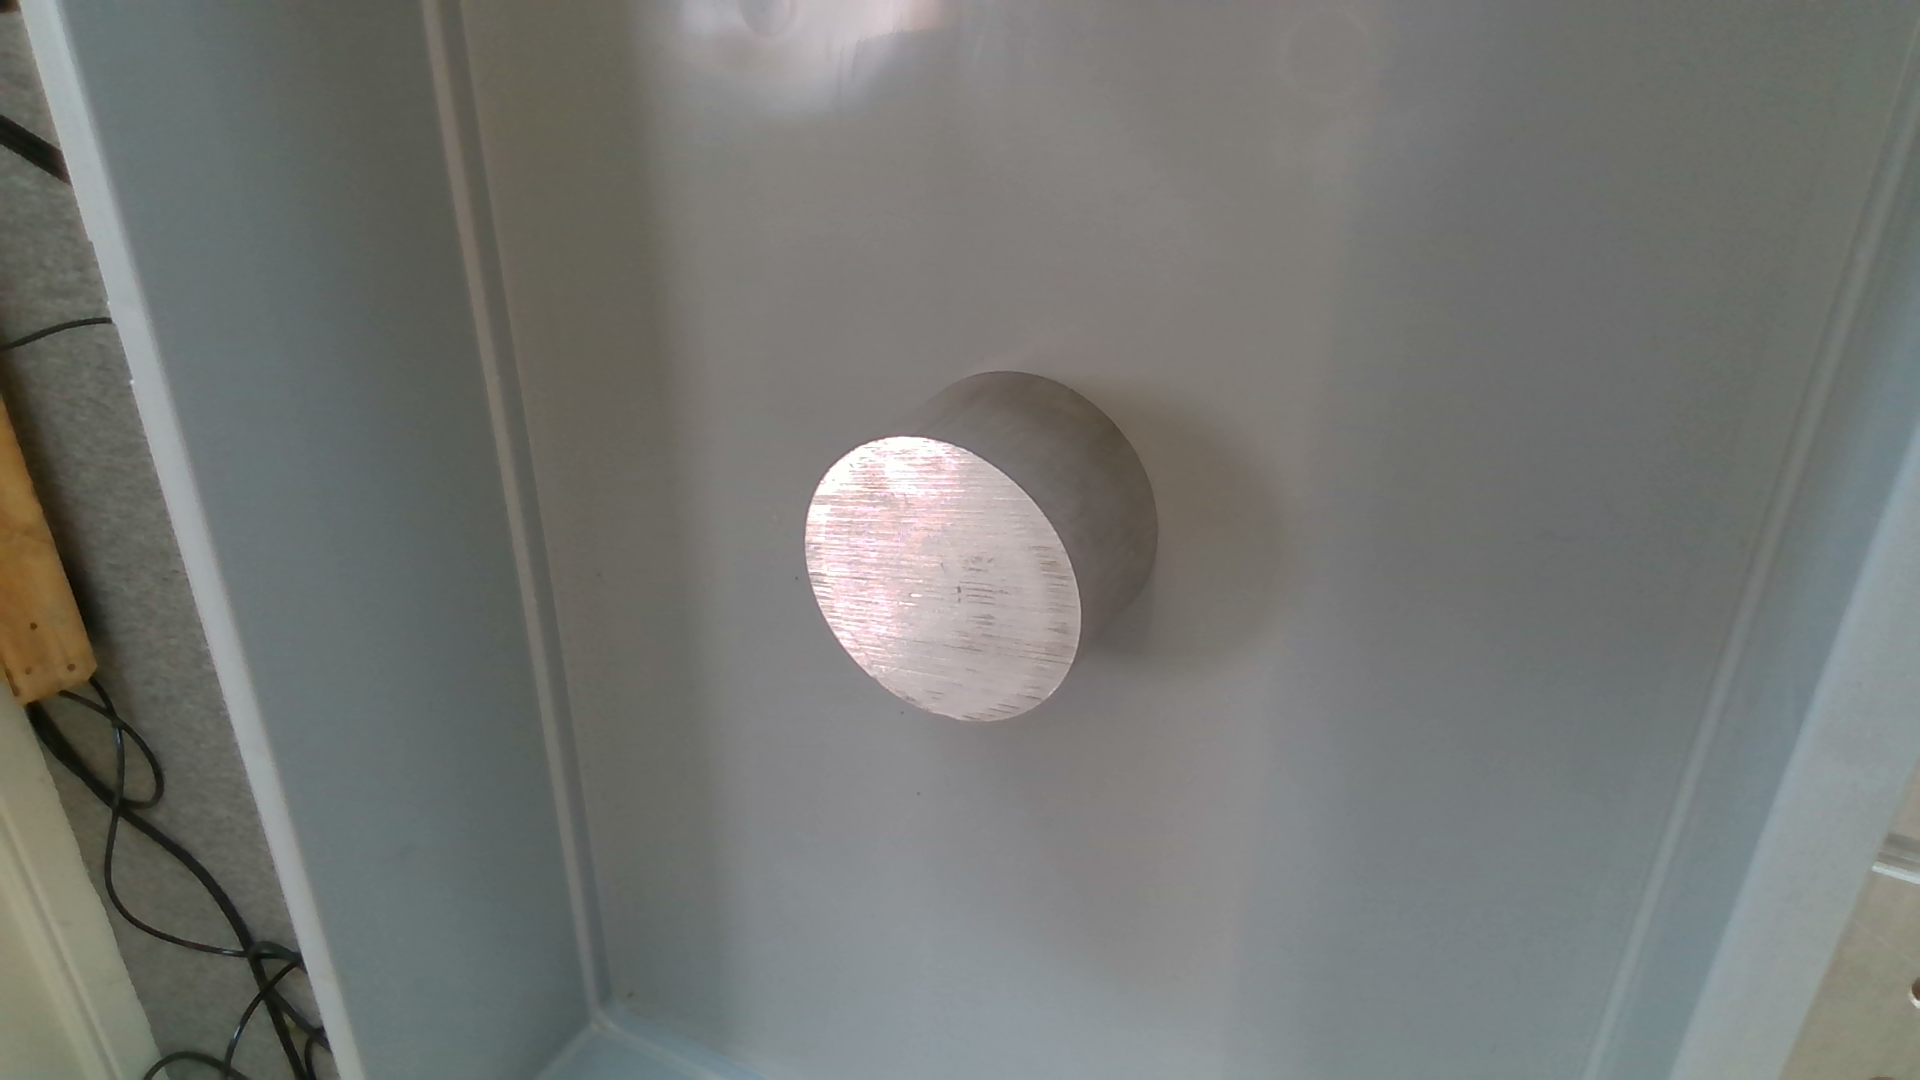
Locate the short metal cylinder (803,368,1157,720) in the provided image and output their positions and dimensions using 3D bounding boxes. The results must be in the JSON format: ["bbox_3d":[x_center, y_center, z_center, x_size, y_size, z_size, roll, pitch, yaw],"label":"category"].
[{"bbox_3d":[0.006,0.000,0.367,0.080,0.050,0.080,14,122,25],"label":"short metal cylinder"}]
